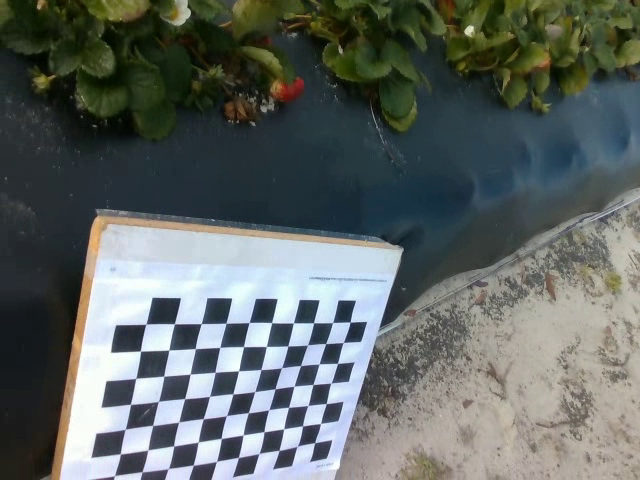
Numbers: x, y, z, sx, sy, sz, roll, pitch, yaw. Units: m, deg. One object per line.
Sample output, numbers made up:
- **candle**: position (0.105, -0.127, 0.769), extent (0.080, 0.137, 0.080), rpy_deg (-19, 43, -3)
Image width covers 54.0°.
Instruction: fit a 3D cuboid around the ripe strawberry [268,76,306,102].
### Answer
- **ripe strawberry**: position (-0.022, -0.102, 0.396), extent (0.027, 0.022, 0.021), rpy_deg (-17, 39, -19)
